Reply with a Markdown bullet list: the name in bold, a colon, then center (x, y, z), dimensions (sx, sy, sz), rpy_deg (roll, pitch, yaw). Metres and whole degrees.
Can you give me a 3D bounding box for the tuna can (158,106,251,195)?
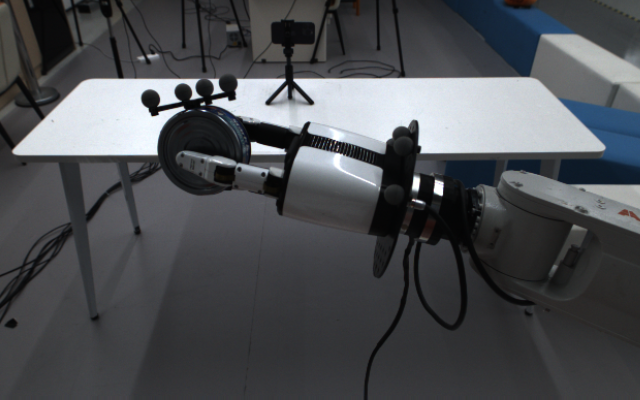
- **tuna can**: center (-0.109, -0.043, 0.474), dimensions (0.085, 0.085, 0.034), rpy_deg (6, 18, 5)
